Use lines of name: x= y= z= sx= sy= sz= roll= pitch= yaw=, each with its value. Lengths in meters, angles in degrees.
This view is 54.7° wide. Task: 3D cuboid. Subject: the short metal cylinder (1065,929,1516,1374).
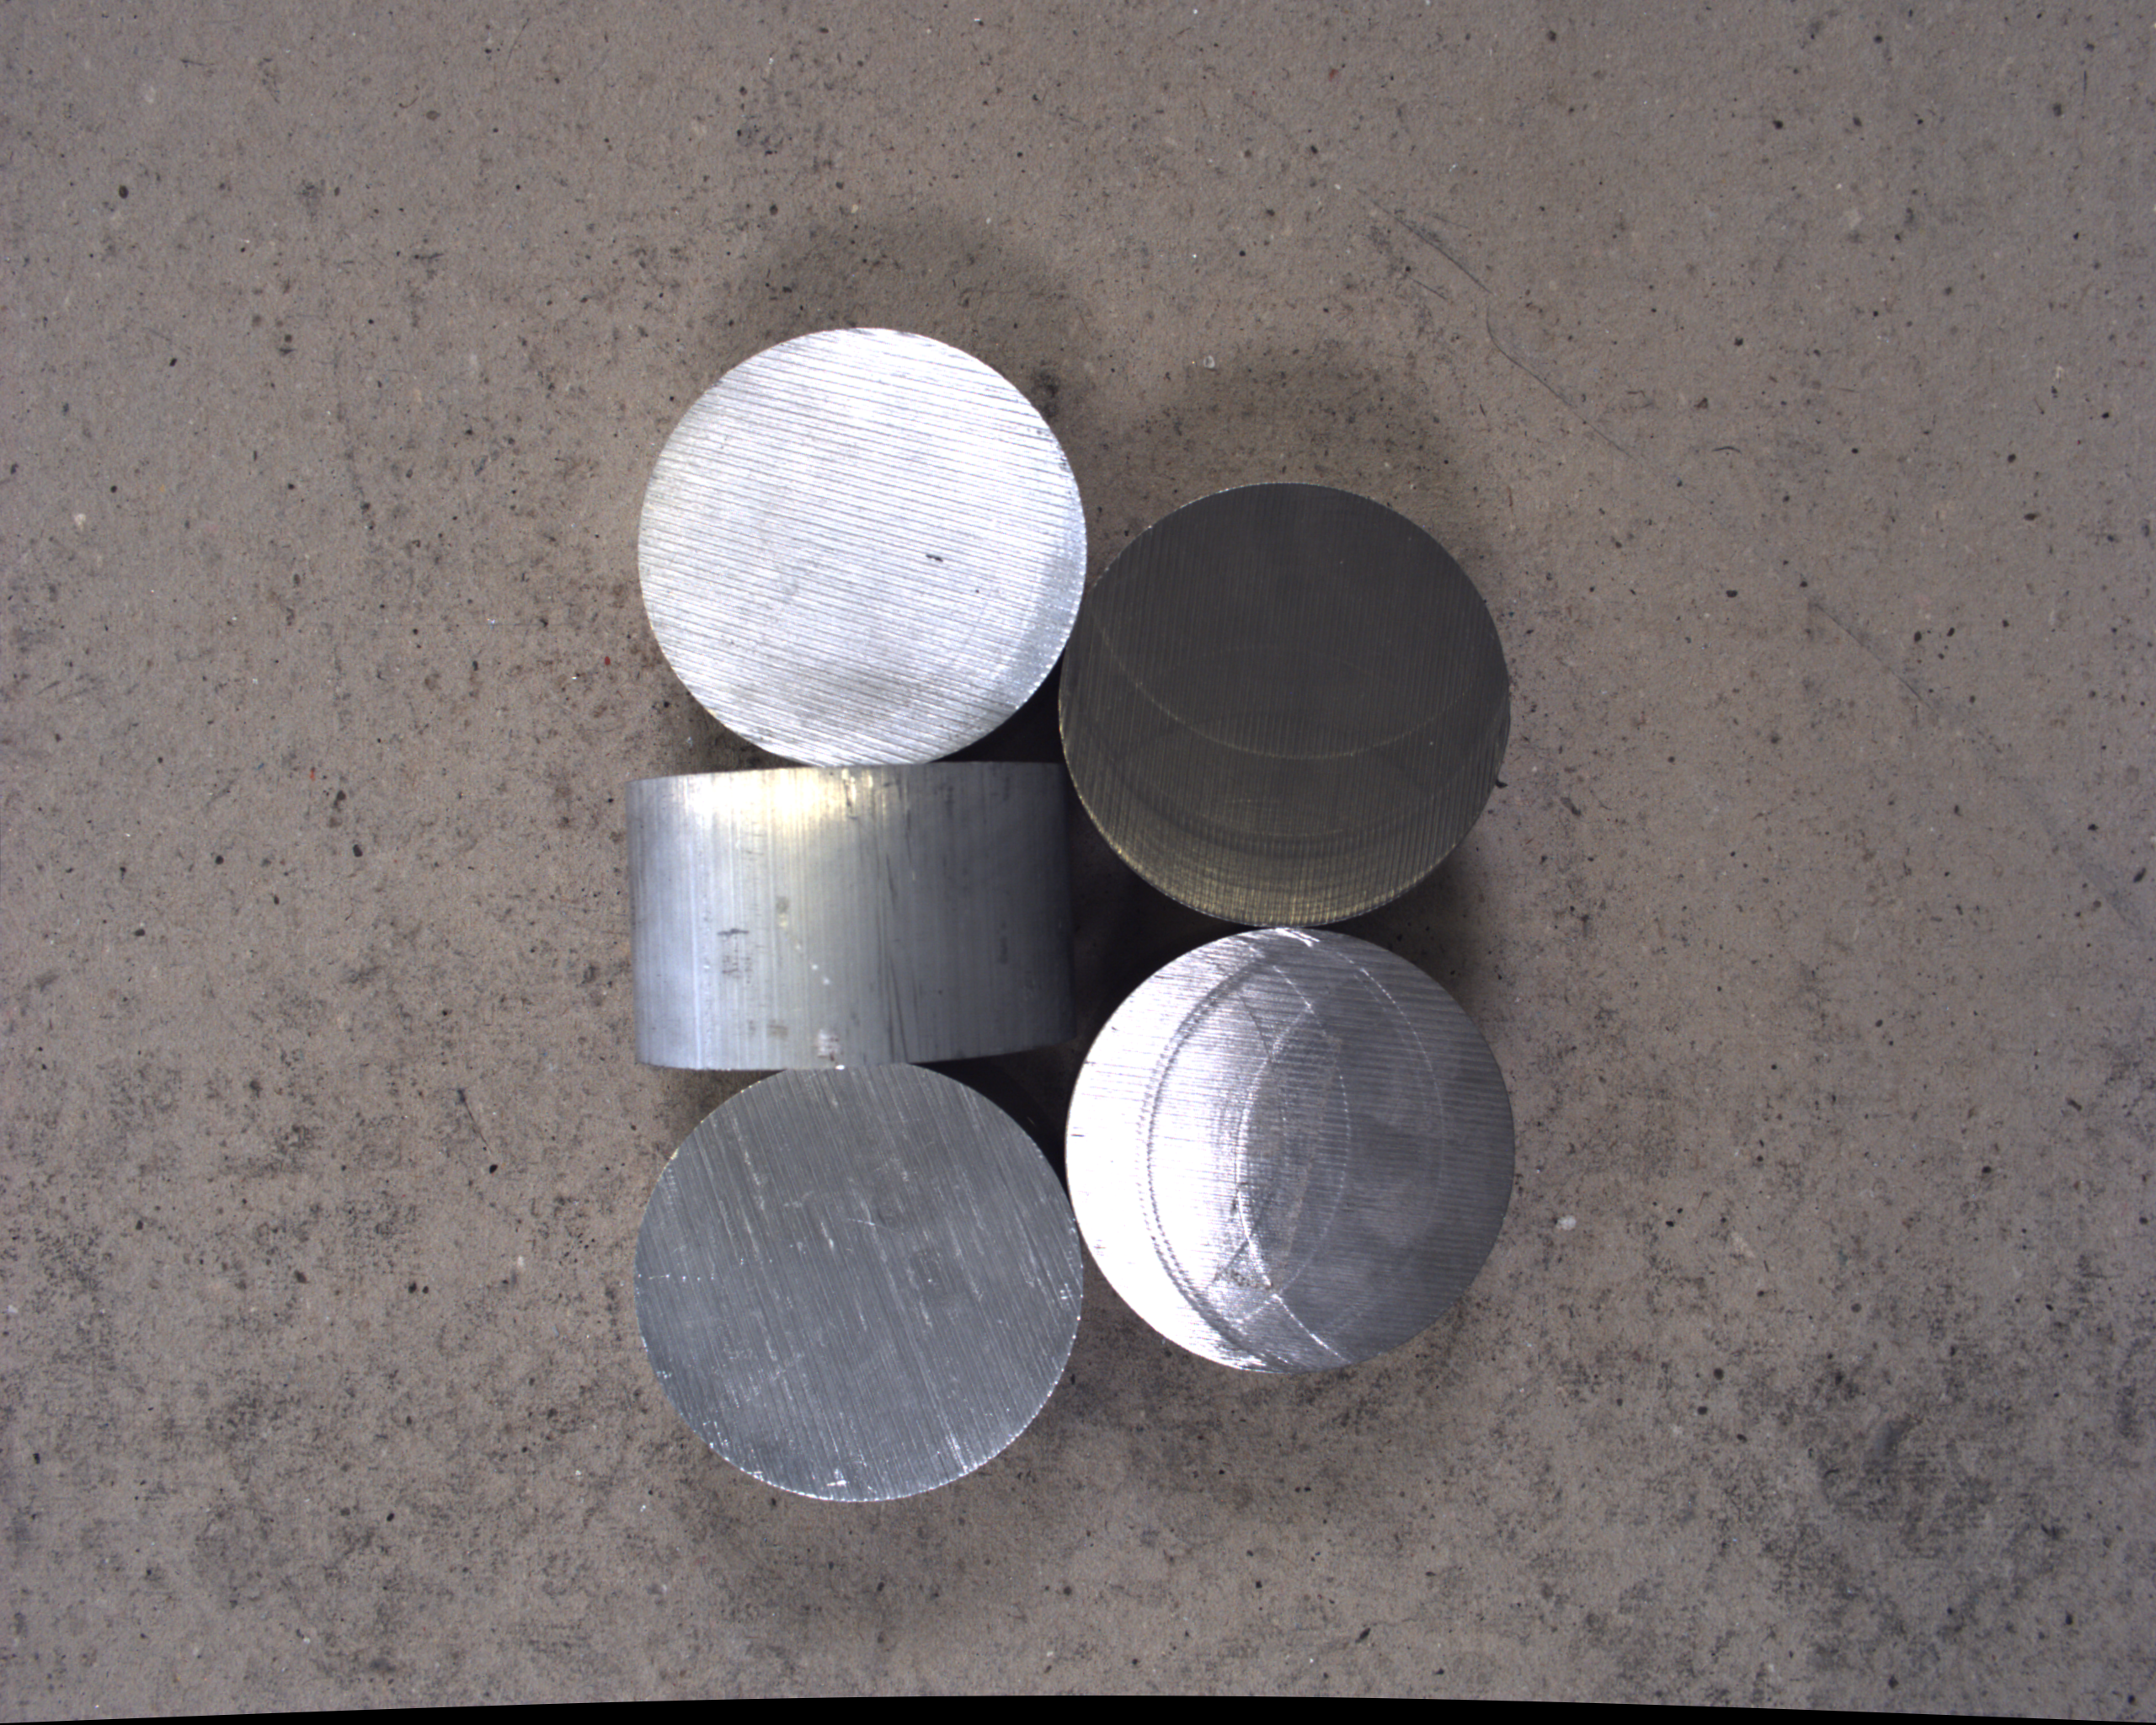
short metal cylinder: x=0.038 y=0.051 z=0.398 sx=0.080 sy=0.050 sz=0.080 roll=0 pitch=91 yaw=1

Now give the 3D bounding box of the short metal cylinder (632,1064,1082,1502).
short metal cylinder: x=-0.039 y=0.074 z=0.398 sx=0.080 sy=0.050 sz=0.080 roll=0 pitch=90 yaw=1

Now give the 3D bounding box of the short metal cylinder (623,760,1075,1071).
short metal cylinder: x=-0.042 y=0.009 z=0.383 sx=0.080 sy=0.080 sz=0.050 roll=-3 pitch=90 yaw=0

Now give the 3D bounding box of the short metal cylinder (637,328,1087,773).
short metal cylinder: x=-0.038 y=-0.056 z=0.398 sx=0.080 sy=0.050 sz=0.080 roll=0 pitch=90 yaw=1

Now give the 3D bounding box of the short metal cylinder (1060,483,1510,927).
short metal cylinder: x=0.037 y=-0.029 z=0.398 sx=0.081 sy=0.050 sz=0.080 roll=0 pitch=91 yaw=0
